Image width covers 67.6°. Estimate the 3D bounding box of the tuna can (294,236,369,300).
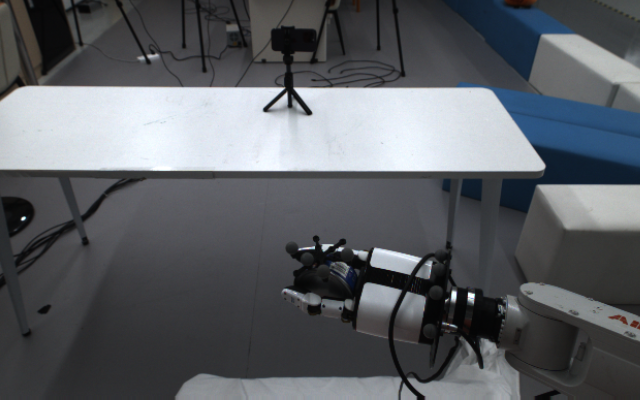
[{"bbox_3d":[0.012,0.114,0.668,0.085,0.085,0.034,14,41,16],"label":"tuna can"}]
